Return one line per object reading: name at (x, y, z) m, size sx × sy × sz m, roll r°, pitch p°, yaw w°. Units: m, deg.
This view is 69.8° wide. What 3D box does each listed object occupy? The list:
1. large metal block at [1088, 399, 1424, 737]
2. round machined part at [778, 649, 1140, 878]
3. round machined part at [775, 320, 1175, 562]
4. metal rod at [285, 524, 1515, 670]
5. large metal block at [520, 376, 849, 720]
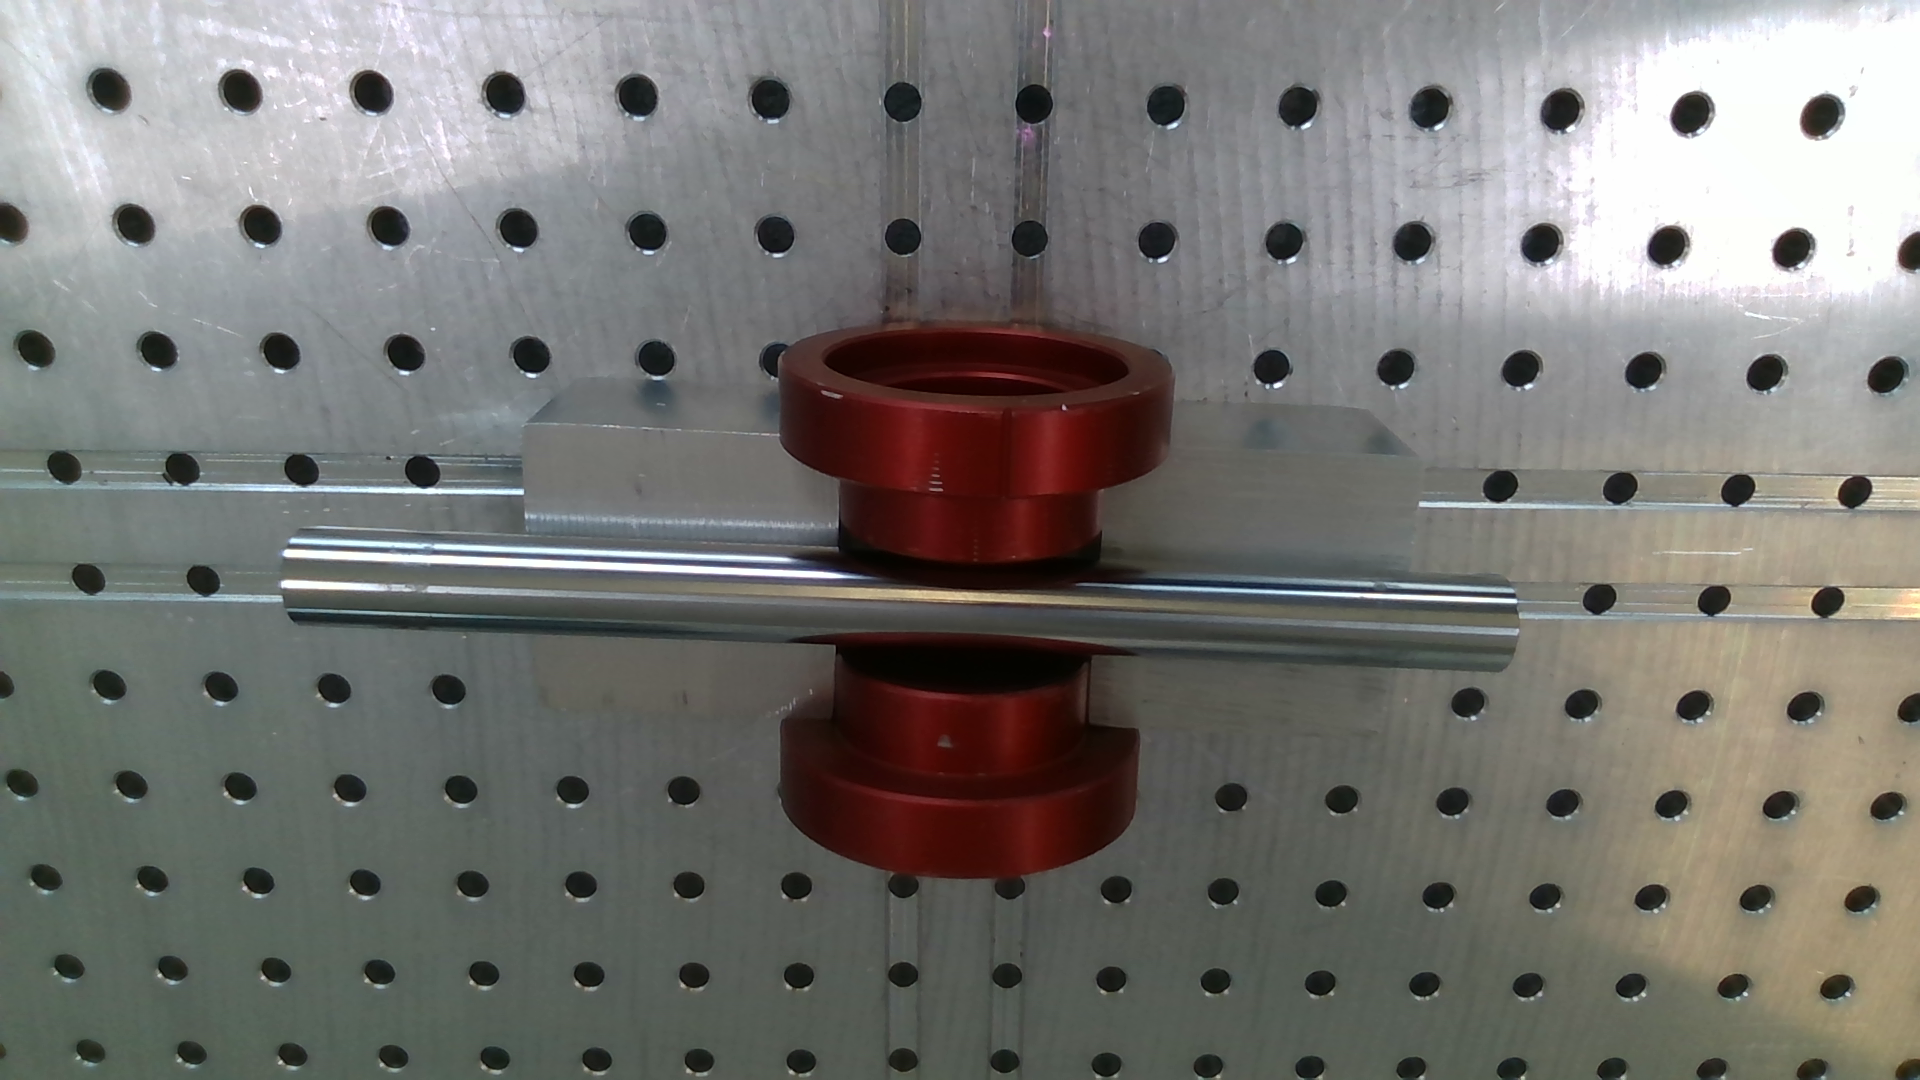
large metal block at (0.076, 0.006, 0.385) m, size 0.080 × 0.050 × 0.080 m, roll 2°, pitch 110°, yaw -1°
round machined part at (0.000, 0.049, 0.375) m, size 0.098 × 0.098 × 0.042 m, roll 2°, pitch 105°, yaw -1°
round machined part at (0.003, -0.026, 0.347) m, size 0.098 × 0.098 × 0.042 m, roll 2°, pitch 110°, yaw -1°
metal rod at (-0.014, 0.015, 0.348) m, size 0.300 × 0.025 × 0.025 m, roll 2°, pitch 110°, yaw -1°
large metal block at (-0.072, 0.001, 0.383) m, size 0.080 × 0.050 × 0.080 m, roll 3°, pitch 110°, yaw -1°
